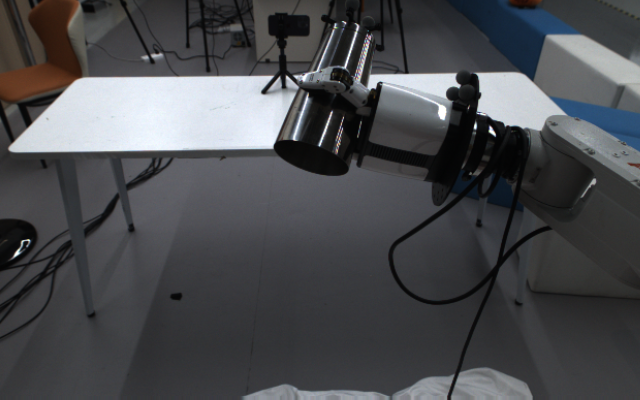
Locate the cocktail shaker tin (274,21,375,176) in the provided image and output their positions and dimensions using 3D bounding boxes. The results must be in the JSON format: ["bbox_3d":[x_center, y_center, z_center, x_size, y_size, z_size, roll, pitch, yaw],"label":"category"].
[{"bbox_3d":[0.015,-0.124,0.586,0.093,0.093,0.170,13,74,16],"label":"cocktail shaker tin"}]
